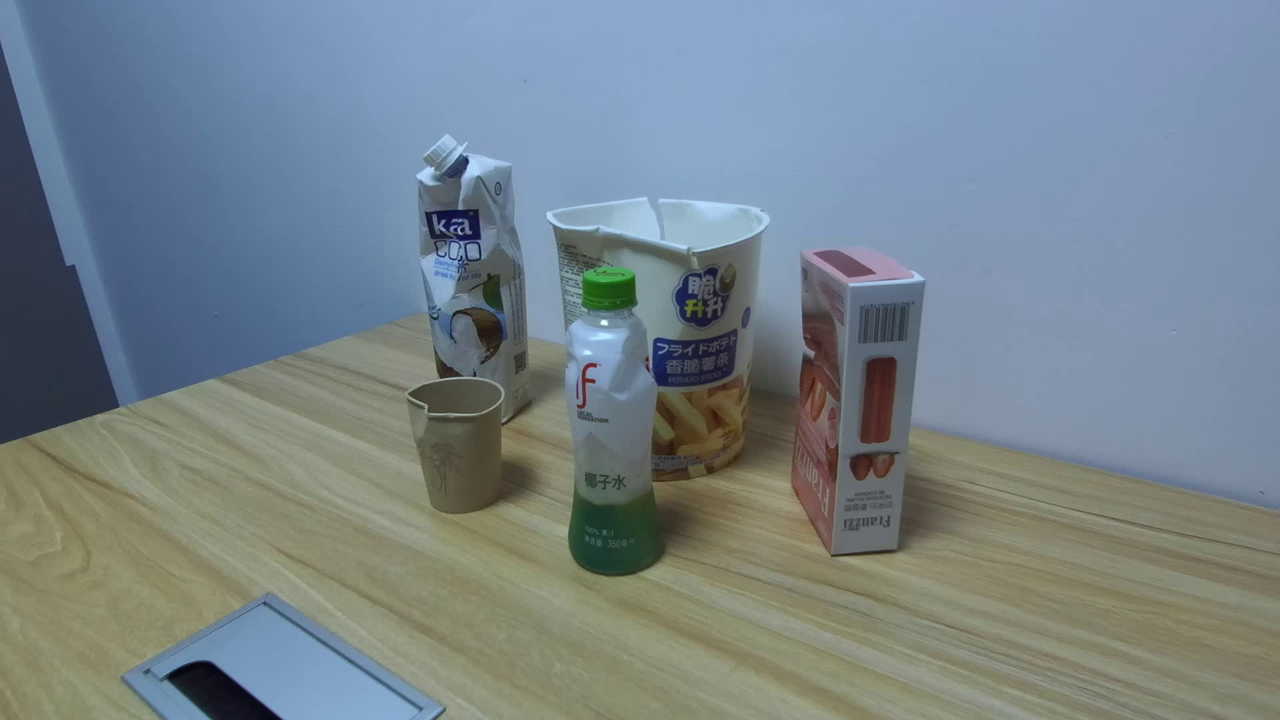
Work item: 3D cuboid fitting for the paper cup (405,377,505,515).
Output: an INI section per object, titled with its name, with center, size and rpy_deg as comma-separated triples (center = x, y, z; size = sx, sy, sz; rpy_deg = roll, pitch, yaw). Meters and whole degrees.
[paper cup]
center = -0.134, 0.064, 0.526
size = 0.073, 0.081, 0.068
rpy_deg = -2, 20, -3

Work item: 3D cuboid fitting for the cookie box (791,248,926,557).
[cookie box]
center = 0.140, 0.023, 0.472
size = 0.049, 0.187, 0.105
rpy_deg = -3, 21, -2

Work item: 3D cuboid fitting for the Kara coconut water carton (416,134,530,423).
[Kara coconut water carton]
center = -0.152, -0.071, 0.637
size = 0.083, 0.255, 0.078
rpy_deg = 11, 26, 27

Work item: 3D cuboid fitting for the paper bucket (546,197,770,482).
[paper bucket]
center = 0.015, -0.024, 0.583
size = 0.201, 0.197, 0.146
rpy_deg = 19, 29, 40

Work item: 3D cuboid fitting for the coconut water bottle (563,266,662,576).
[coconut water bottle]
center = -0.016, 0.038, 0.436
size = 0.069, 0.186, 0.069
rpy_deg = -1, 23, 1
